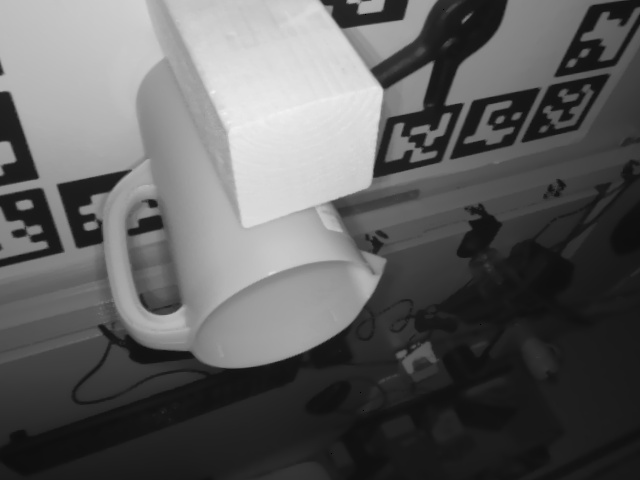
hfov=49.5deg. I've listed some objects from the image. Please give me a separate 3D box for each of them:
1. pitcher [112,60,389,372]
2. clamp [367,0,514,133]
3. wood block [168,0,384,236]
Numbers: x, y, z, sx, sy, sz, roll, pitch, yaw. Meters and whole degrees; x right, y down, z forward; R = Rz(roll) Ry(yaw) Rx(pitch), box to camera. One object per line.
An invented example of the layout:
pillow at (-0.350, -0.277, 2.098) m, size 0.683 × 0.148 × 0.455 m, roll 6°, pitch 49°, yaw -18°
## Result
pitcher at (-0.072, -0.026, 0.544) m, size 0.191 × 0.242 × 0.131 m, roll -17°, pitch 149°, yaw -21°
clamp at (0.126, -0.180, 0.673) m, size 0.123 × 0.036 × 0.162 m, roll 14°, pitch 130°, yaw -37°
wood block at (-0.041, -0.117, 0.467) m, size 0.091 × 0.206 × 0.090 m, roll -13°, pitch 146°, yaw -15°
